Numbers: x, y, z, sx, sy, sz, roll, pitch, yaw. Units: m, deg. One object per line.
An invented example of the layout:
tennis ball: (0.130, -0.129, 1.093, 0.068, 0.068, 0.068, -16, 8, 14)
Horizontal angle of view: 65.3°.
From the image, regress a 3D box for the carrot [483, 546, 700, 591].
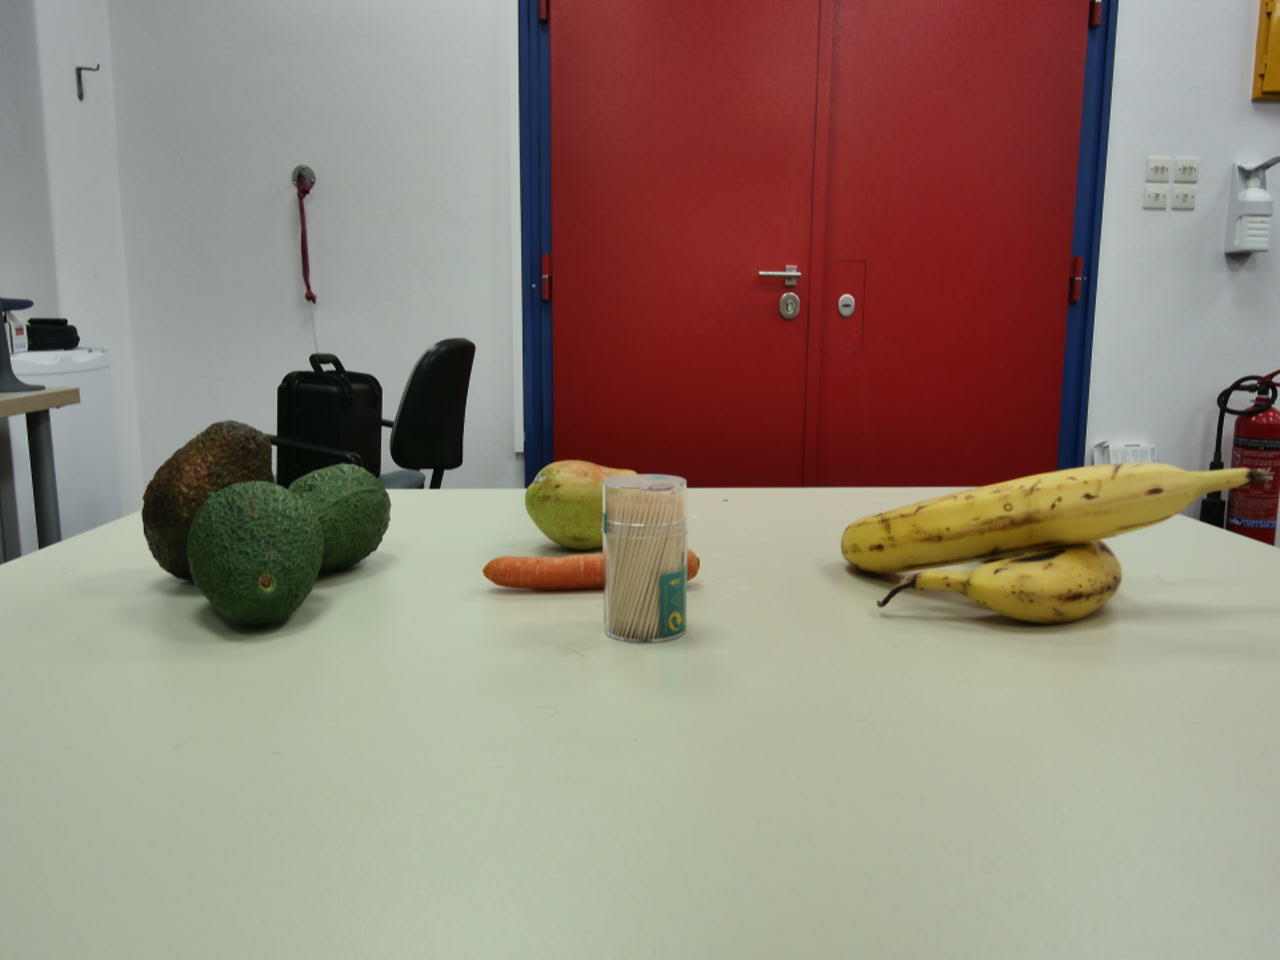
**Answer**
carrot: (-0.027, 0.050, 0.567, 0.122, 0.023, 0.024, 0, 7, -4)
